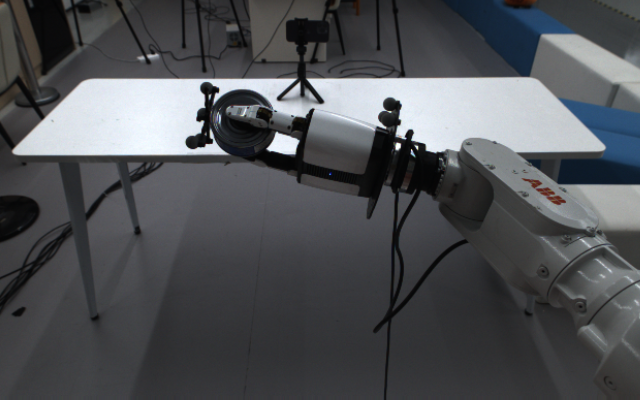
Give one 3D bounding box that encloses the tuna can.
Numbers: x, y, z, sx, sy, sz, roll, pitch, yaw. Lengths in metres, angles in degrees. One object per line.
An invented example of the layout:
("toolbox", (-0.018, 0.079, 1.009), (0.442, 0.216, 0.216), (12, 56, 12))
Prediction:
("tuna can", (-0.100, -0.103, 0.642), (0.085, 0.034, 0.085), (1, 74, -4))
